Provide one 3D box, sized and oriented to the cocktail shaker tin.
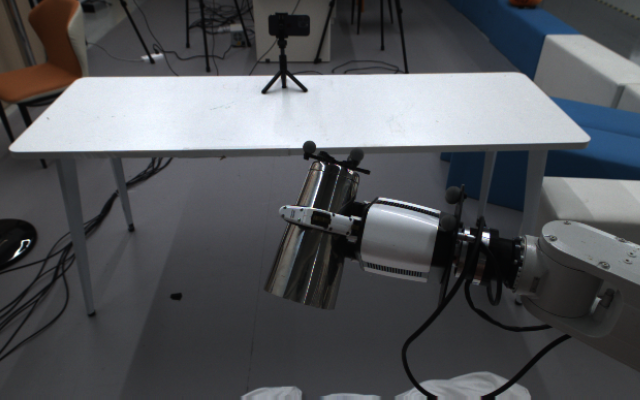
[{"bbox_3d":[-0.003,0.042,0.612,0.093,0.170,0.093,16,-6,2],"label":"cocktail shaker tin"}]
